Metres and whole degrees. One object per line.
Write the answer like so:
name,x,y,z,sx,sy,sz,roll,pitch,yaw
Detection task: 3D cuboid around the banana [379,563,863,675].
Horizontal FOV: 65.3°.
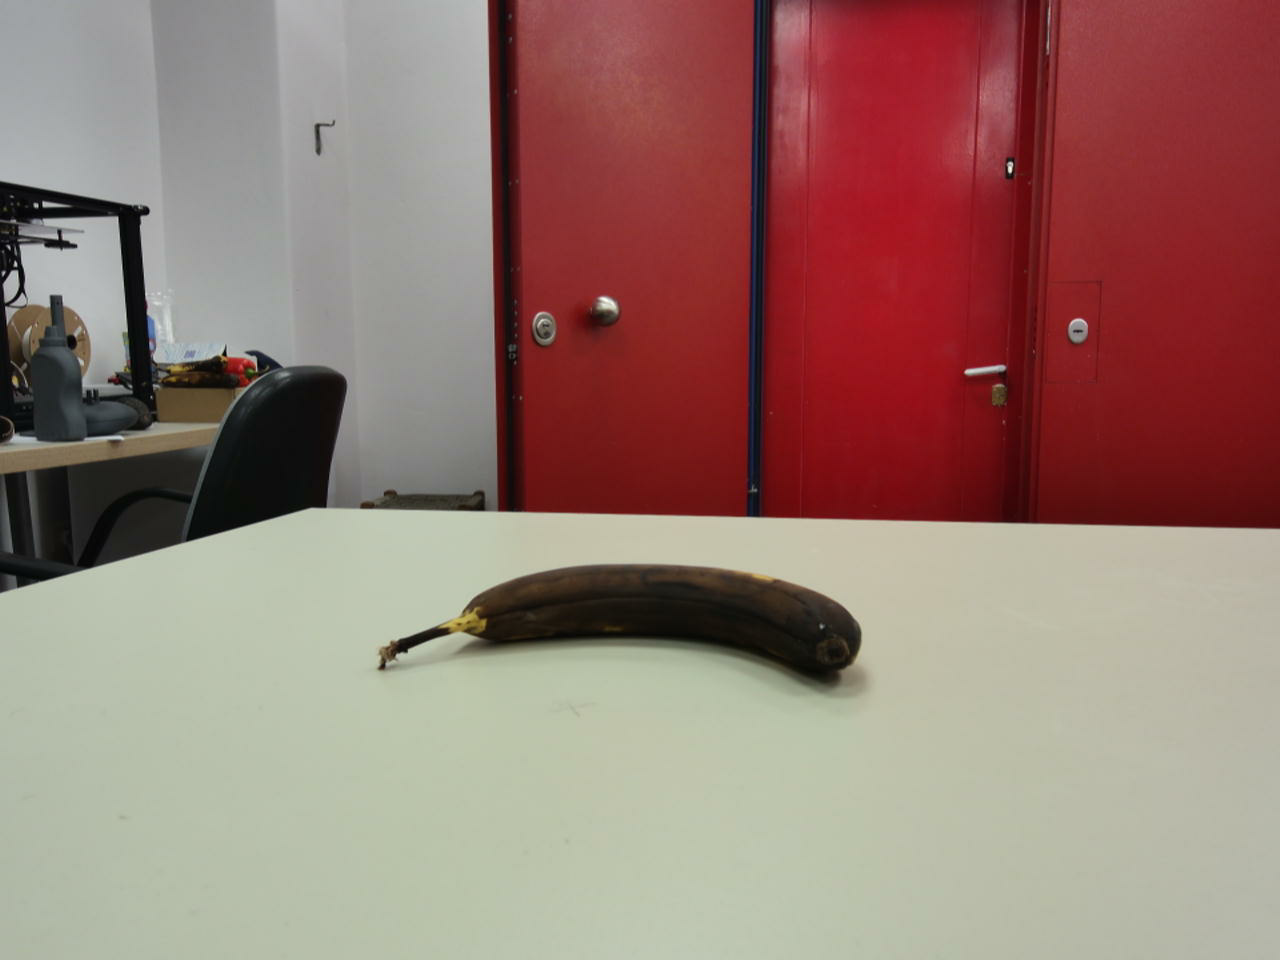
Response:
banana,-0.003,0.055,0.419,0.188,0.033,0.091,1,4,14
